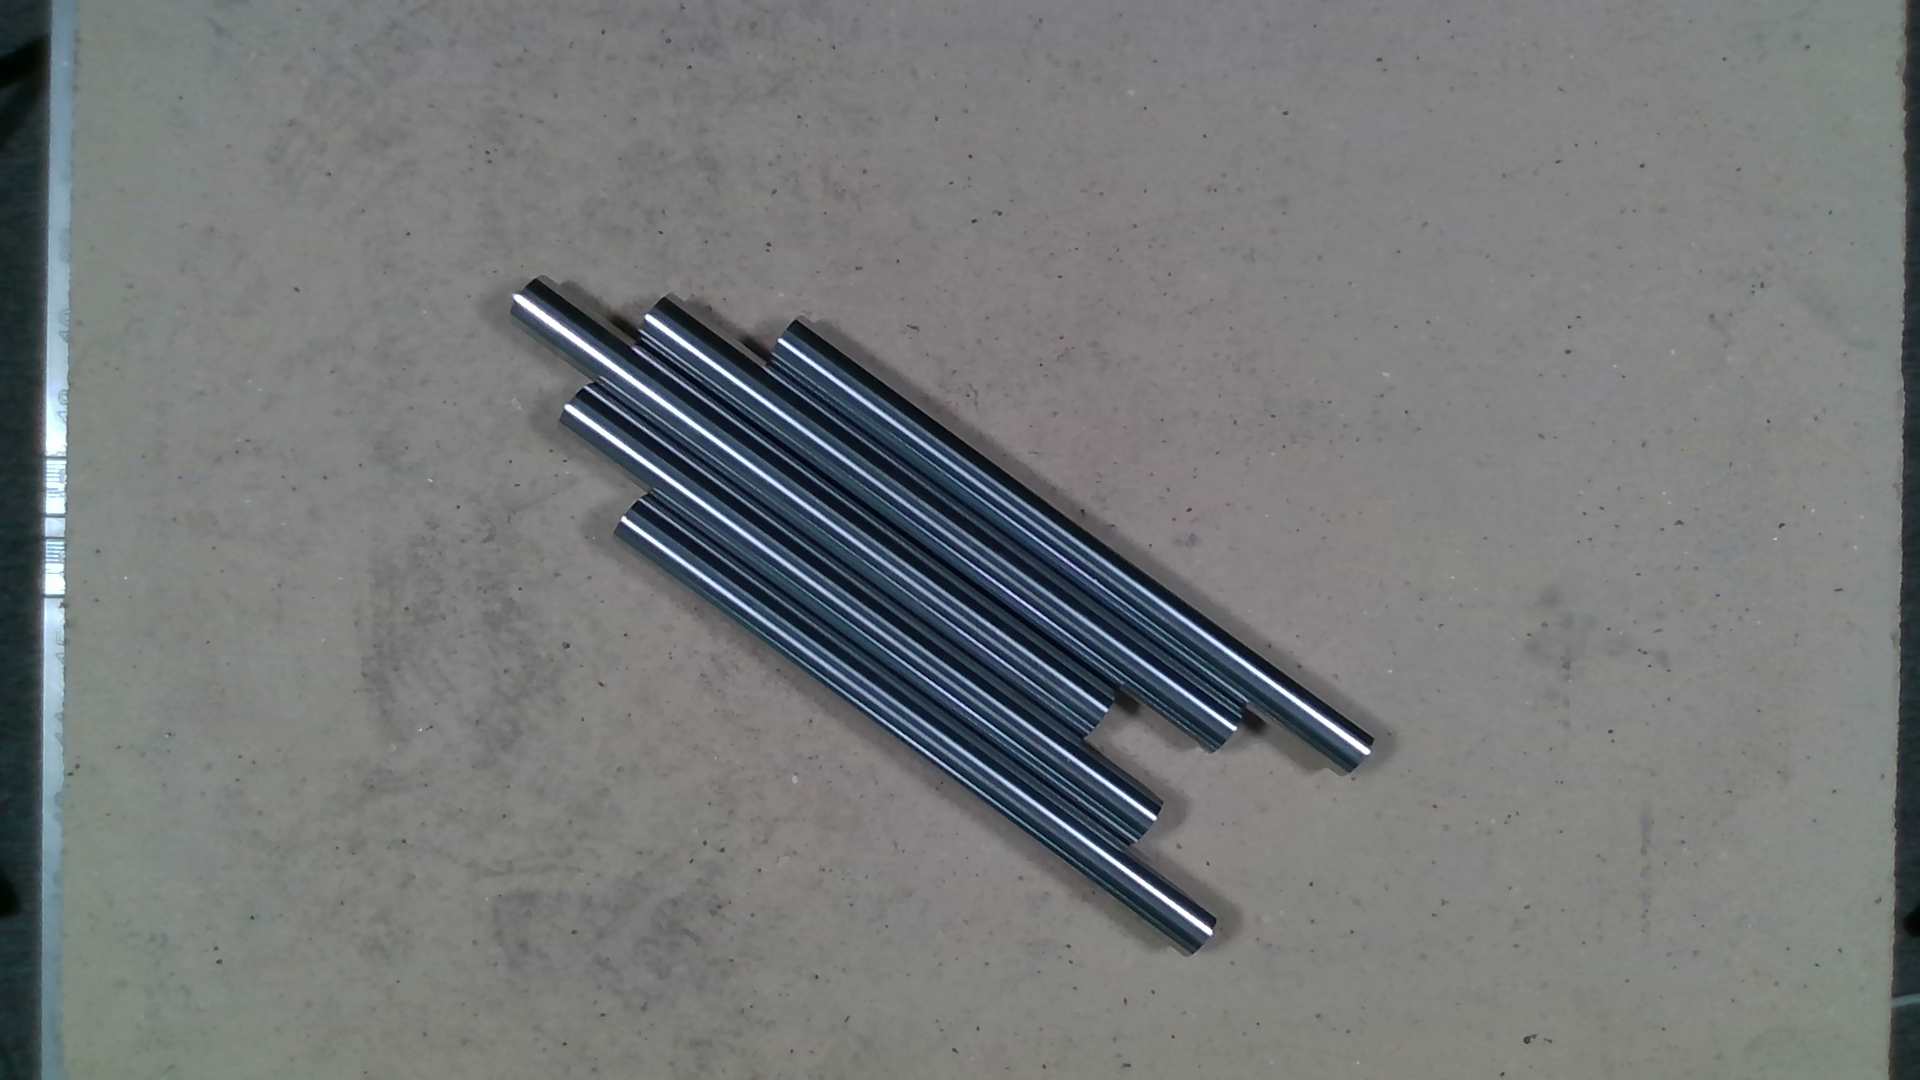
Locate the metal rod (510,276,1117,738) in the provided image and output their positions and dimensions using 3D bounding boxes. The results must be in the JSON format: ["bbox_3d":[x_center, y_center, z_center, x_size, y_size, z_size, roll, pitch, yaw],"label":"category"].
[{"bbox_3d":[-0.062,-0.014,0.587,0.300,0.025,0.025,36,90,0],"label":"metal rod"}]

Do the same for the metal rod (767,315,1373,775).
[{"bbox_3d":[0.047,0.002,0.587,0.300,0.025,0.025,36,90,0],"label":"metal rod"}]

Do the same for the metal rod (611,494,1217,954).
[{"bbox_3d":[-0.019,0.078,0.587,0.300,0.025,0.025,36,90,0],"label":"metal rod"}]

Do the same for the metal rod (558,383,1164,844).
[{"bbox_3d":[-0.042,0.031,0.587,0.300,0.025,0.025,36,90,0],"label":"metal rod"}]

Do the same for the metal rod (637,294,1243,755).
[{"bbox_3d":[-0.008,-0.007,0.587,0.300,0.025,0.025,36,90,0],"label":"metal rod"}]
